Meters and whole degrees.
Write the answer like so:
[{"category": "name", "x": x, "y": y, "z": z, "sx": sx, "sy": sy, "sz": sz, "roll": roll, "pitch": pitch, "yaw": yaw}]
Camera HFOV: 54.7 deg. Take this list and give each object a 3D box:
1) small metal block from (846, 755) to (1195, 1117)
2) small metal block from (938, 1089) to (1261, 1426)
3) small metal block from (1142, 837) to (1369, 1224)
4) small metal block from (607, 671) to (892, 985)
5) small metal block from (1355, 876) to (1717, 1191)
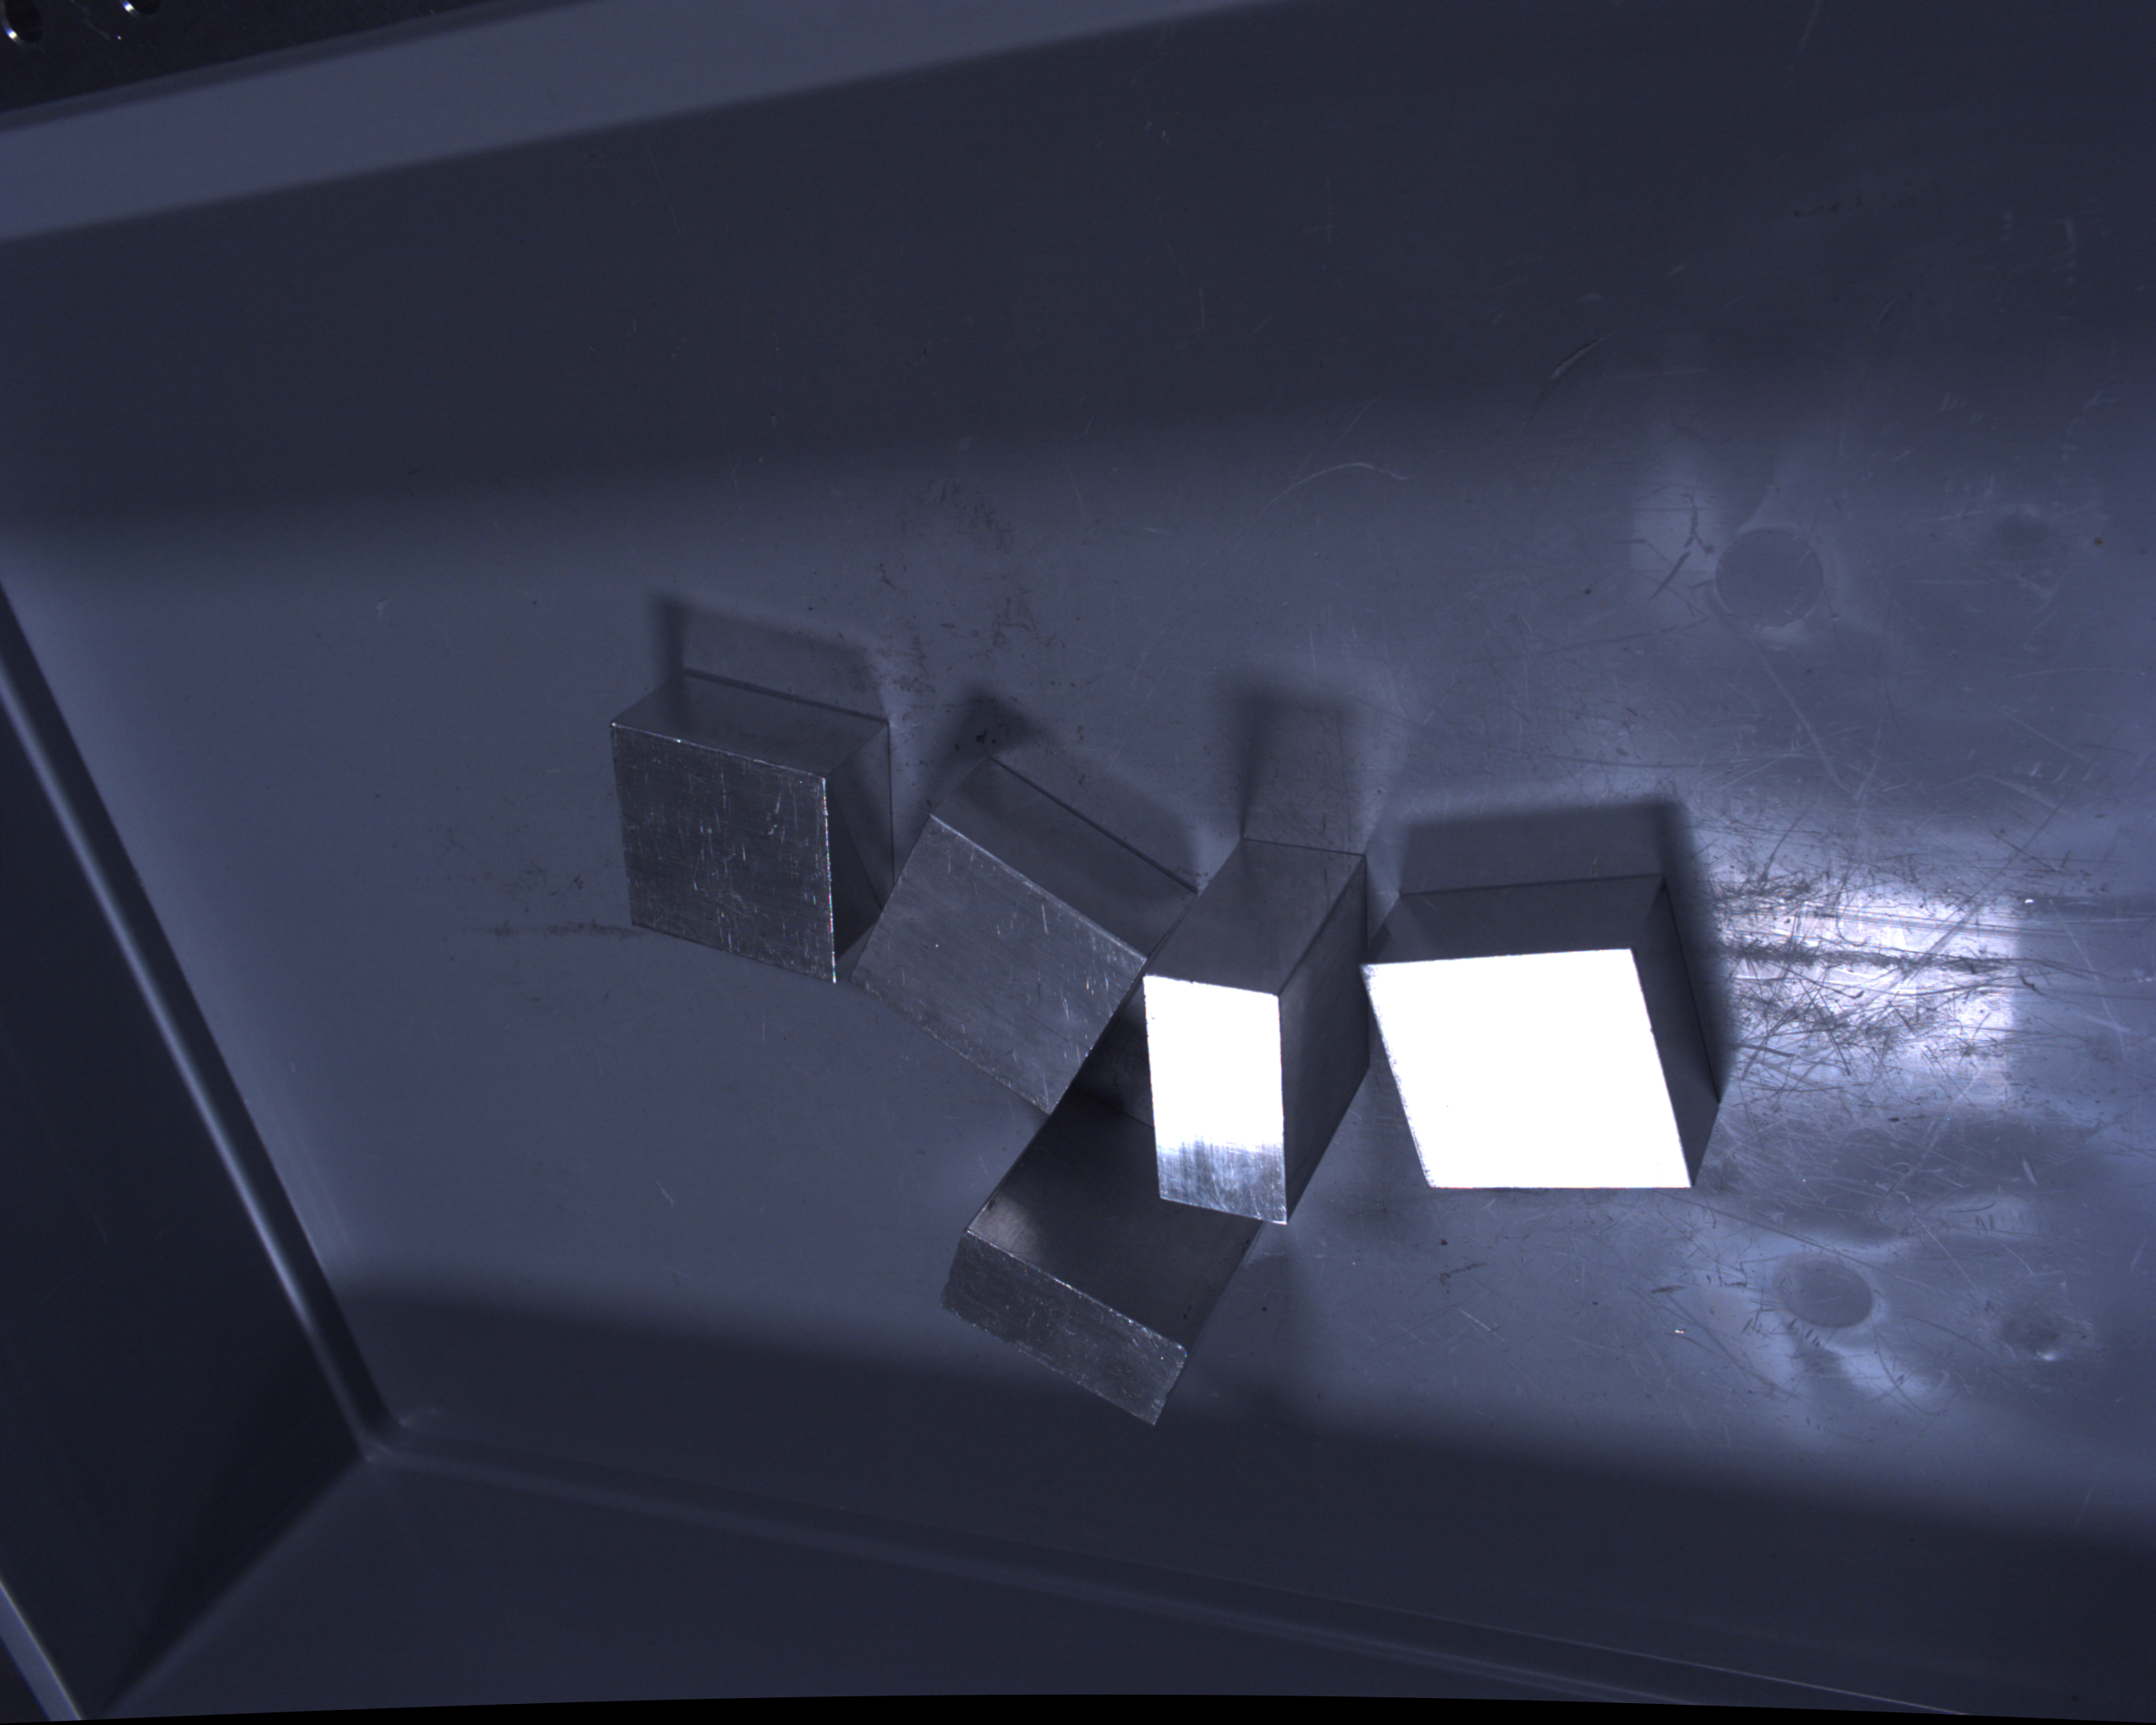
[{"category": "small metal block", "x": -0.012, "y": 0.015, "z": 0.419, "sx": 0.050, "sy": 0.025, "sz": 0.050, "roll": 33, "pitch": 129, "yaw": 5}, {"category": "small metal block", "x": 0.007, "y": 0.080, "z": 0.434, "sx": 0.050, "sy": 0.050, "sz": 0.025, "roll": 27, "pitch": 128, "yaw": 10}, {"category": "small metal block", "x": 0.035, "y": 0.030, "z": 0.390, "sx": 0.025, "sy": 0.050, "sz": 0.050, "roll": 9, "pitch": 122, "yaw": 23}, {"category": "small metal block", "x": -0.067, "y": -0.008, "z": 0.434, "sx": 0.050, "sy": 0.025, "sz": 0.050, "roll": 14, "pitch": 124, "yaw": 20}, {"category": "small metal block", "x": 0.084, "y": 0.032, "z": 0.380, "sx": 0.050, "sy": 0.025, "sz": 0.050, "roll": -6, "pitch": 116, "yaw": 30}]
